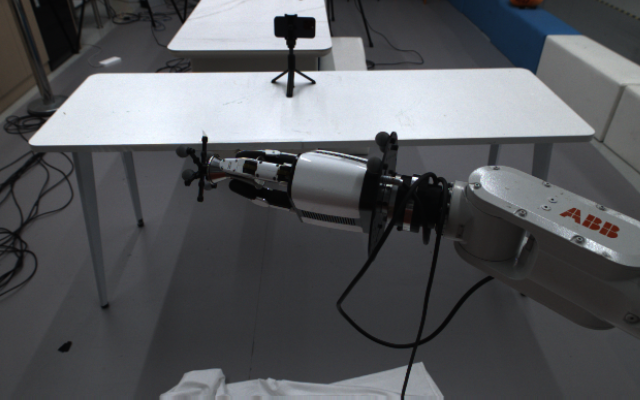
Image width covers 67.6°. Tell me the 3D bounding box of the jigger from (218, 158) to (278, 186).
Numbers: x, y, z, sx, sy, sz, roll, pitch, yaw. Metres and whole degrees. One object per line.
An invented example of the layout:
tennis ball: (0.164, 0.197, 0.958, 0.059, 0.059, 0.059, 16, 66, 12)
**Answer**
jigger: (-0.102, -0.042, 0.643, 0.071, 0.043, 0.043, 3, 34, 15)
